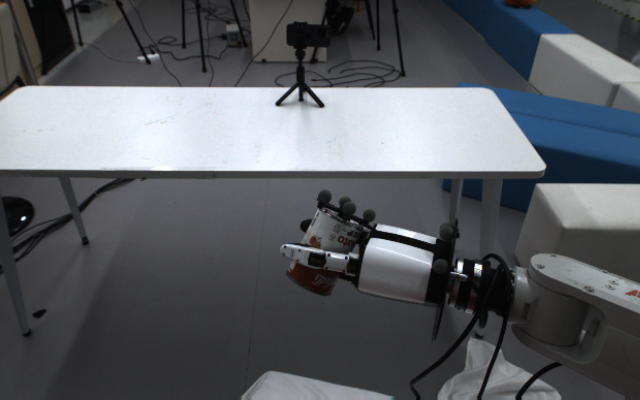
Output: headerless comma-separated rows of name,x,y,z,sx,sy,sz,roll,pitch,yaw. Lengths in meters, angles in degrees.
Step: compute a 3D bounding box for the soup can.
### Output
soup can,0.008,0.067,0.642,0.067,0.101,0.067,26,5,-3
